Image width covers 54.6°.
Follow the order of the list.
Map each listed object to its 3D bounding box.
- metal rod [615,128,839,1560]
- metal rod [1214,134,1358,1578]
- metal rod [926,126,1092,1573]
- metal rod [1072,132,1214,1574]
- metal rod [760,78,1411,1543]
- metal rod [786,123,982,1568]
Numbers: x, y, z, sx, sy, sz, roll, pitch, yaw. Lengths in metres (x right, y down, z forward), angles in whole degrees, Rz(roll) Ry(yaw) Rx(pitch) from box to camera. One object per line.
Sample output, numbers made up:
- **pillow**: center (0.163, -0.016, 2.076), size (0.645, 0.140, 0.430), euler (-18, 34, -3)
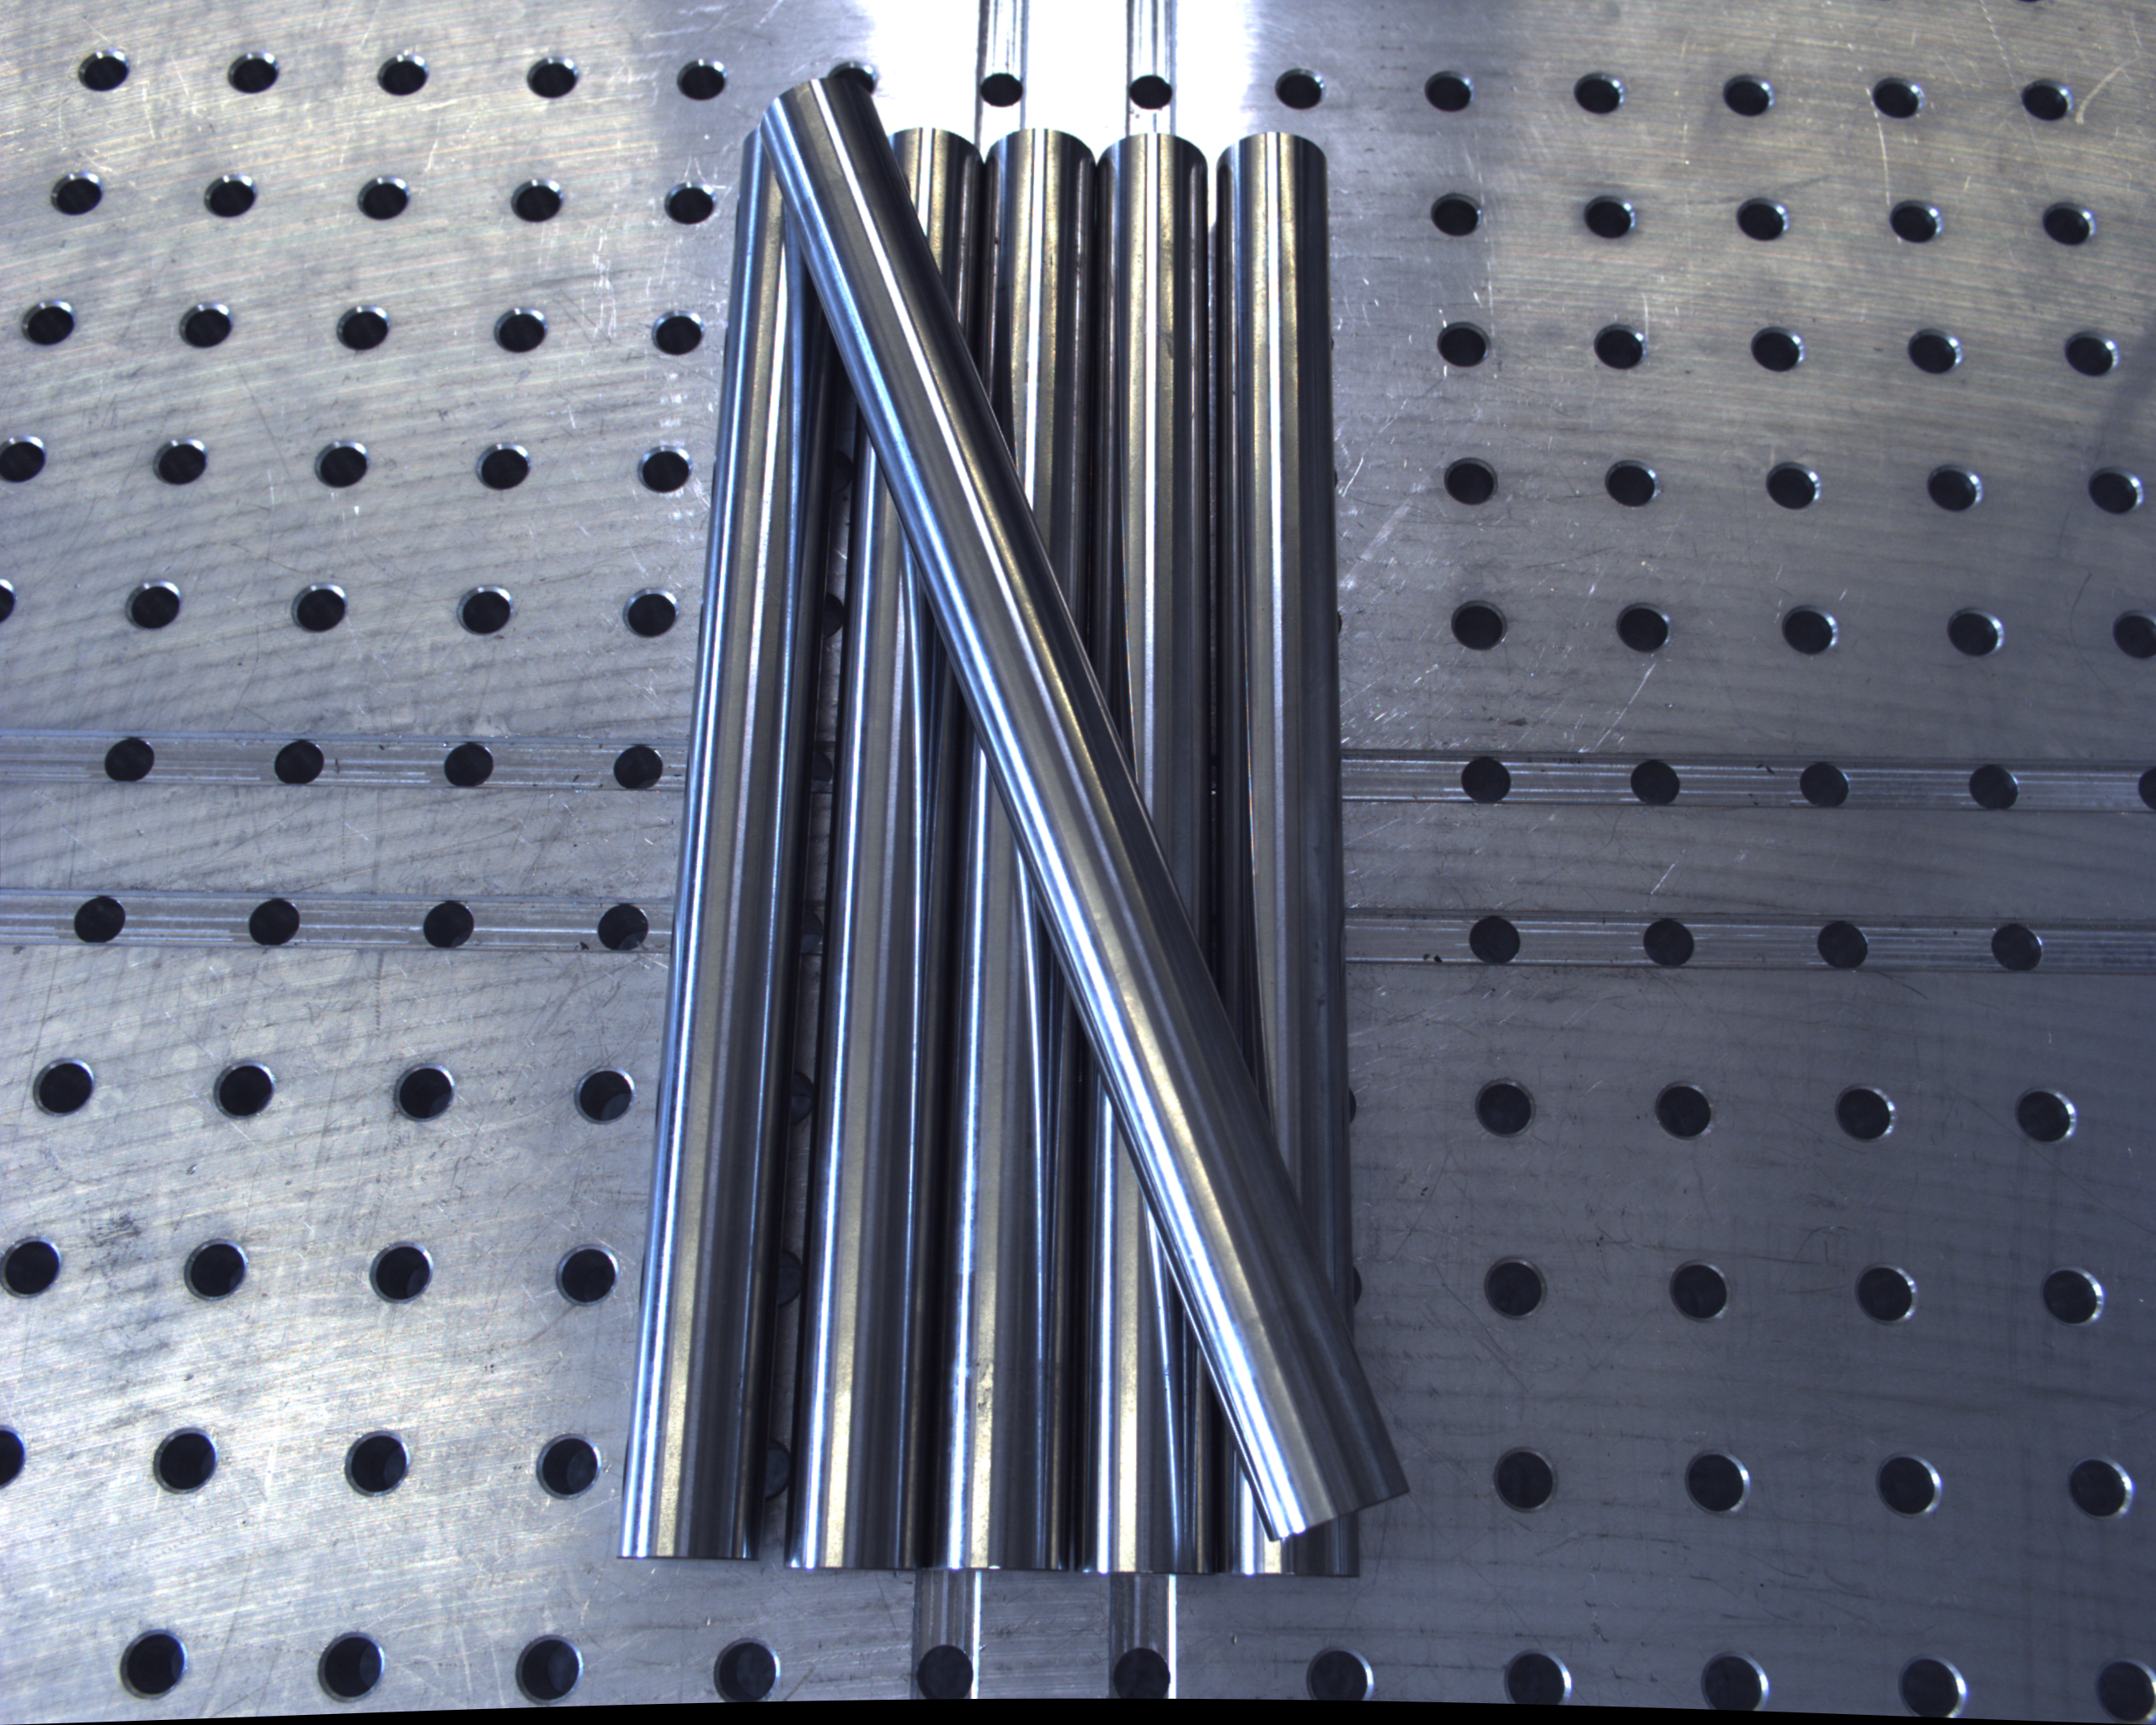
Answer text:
- **metal rod**: center (-0.066, -0.018, 0.417), size (0.025, 0.025, 0.299), euler (1, 70, 0)
- **metal rod**: center (0.040, -0.015, 0.418), size (0.025, 0.025, 0.299), euler (1, 70, 0)
- **metal rod**: center (-0.012, -0.016, 0.417), size (0.025, 0.025, 0.299), euler (1, 70, 0)
- **metal rod**: center (0.014, -0.016, 0.418), size (0.025, 0.025, 0.299), euler (1, 70, 0)
- **metal rod**: center (-0.006, -0.024, 0.394), size (0.025, 0.025, 0.299), euler (-18, 71, -6)
- **metal rod**: center (-0.036, -0.017, 0.417), size (0.025, 0.025, 0.299), euler (1, 70, 0)
